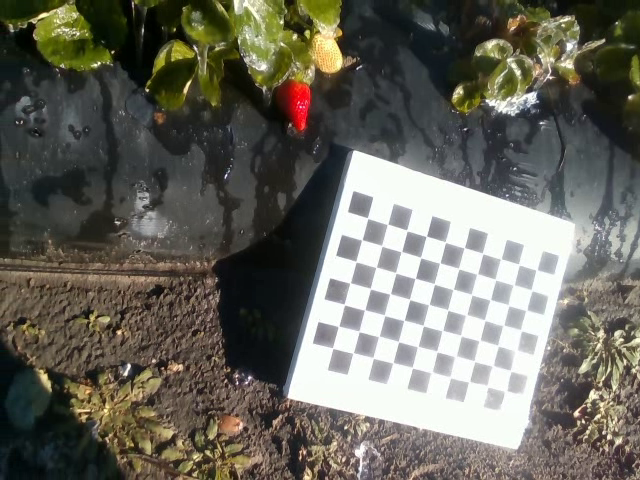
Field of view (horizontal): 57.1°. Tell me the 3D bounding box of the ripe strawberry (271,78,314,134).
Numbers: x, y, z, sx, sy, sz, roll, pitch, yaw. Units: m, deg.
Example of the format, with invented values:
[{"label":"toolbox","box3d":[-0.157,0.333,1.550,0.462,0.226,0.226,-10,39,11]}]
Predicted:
[{"label":"ripe strawberry","box3d":[-0.020,-0.138,0.597,0.041,0.052,0.040,-2,-6,-17]}]
